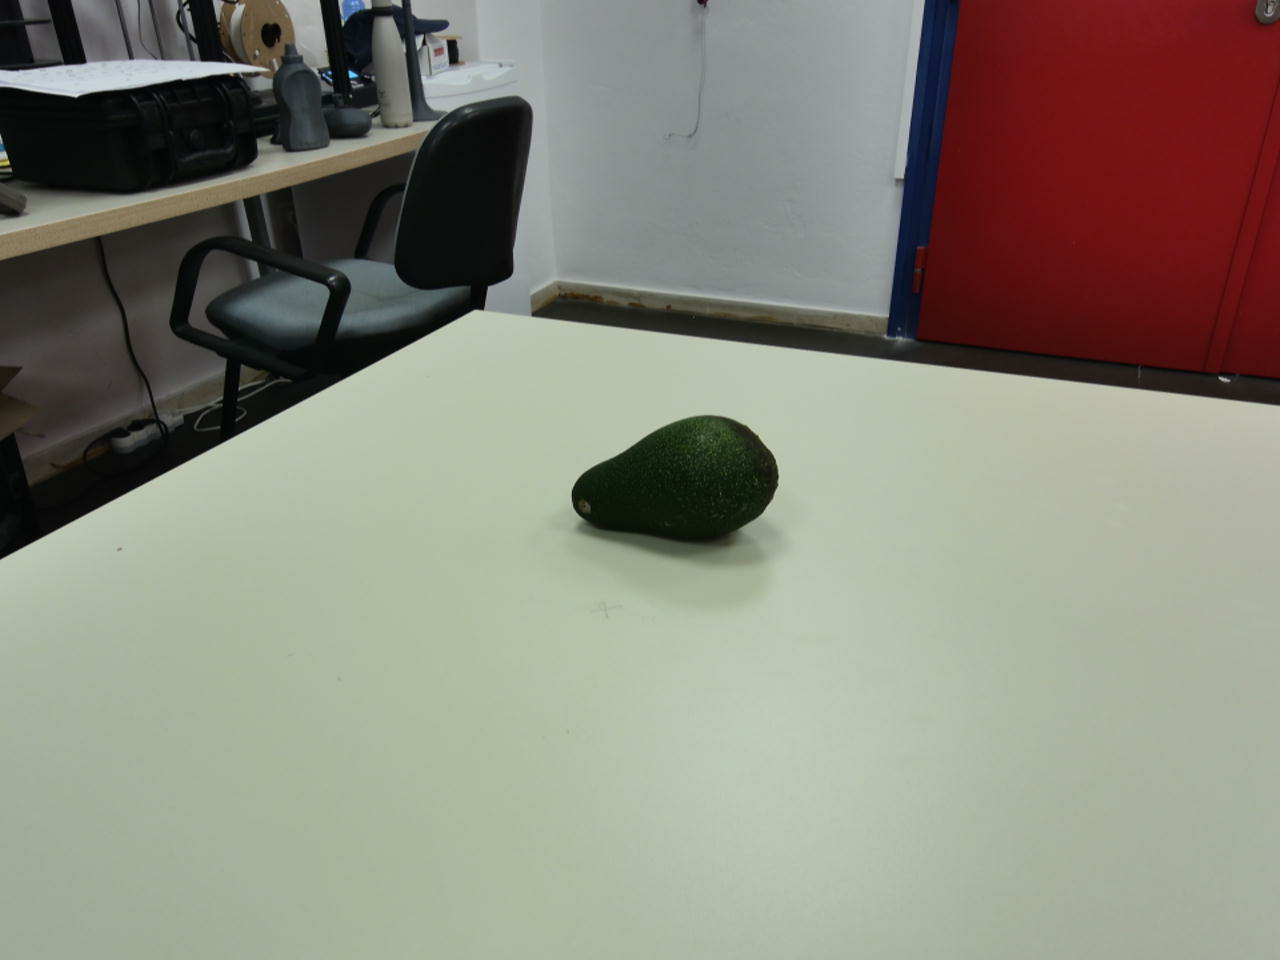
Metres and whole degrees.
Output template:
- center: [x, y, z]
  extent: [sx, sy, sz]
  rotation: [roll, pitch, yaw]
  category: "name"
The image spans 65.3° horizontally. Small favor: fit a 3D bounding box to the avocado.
- center: [0.024, -0.005, 0.603]
  extent: [0.123, 0.076, 0.074]
  rotation: [14, 29, 27]
  category: "avocado"
